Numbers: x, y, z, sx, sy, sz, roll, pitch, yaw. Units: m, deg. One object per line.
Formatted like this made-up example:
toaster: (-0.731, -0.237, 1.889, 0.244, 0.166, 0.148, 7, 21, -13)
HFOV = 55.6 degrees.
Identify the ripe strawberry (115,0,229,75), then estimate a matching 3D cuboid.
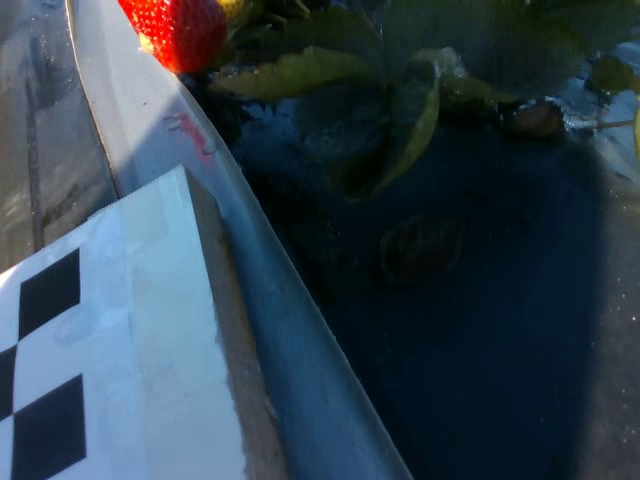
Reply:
ripe strawberry: (-0.055, -0.079, 0.213, 0.038, 0.036, 0.045, -42, -49, 18)
